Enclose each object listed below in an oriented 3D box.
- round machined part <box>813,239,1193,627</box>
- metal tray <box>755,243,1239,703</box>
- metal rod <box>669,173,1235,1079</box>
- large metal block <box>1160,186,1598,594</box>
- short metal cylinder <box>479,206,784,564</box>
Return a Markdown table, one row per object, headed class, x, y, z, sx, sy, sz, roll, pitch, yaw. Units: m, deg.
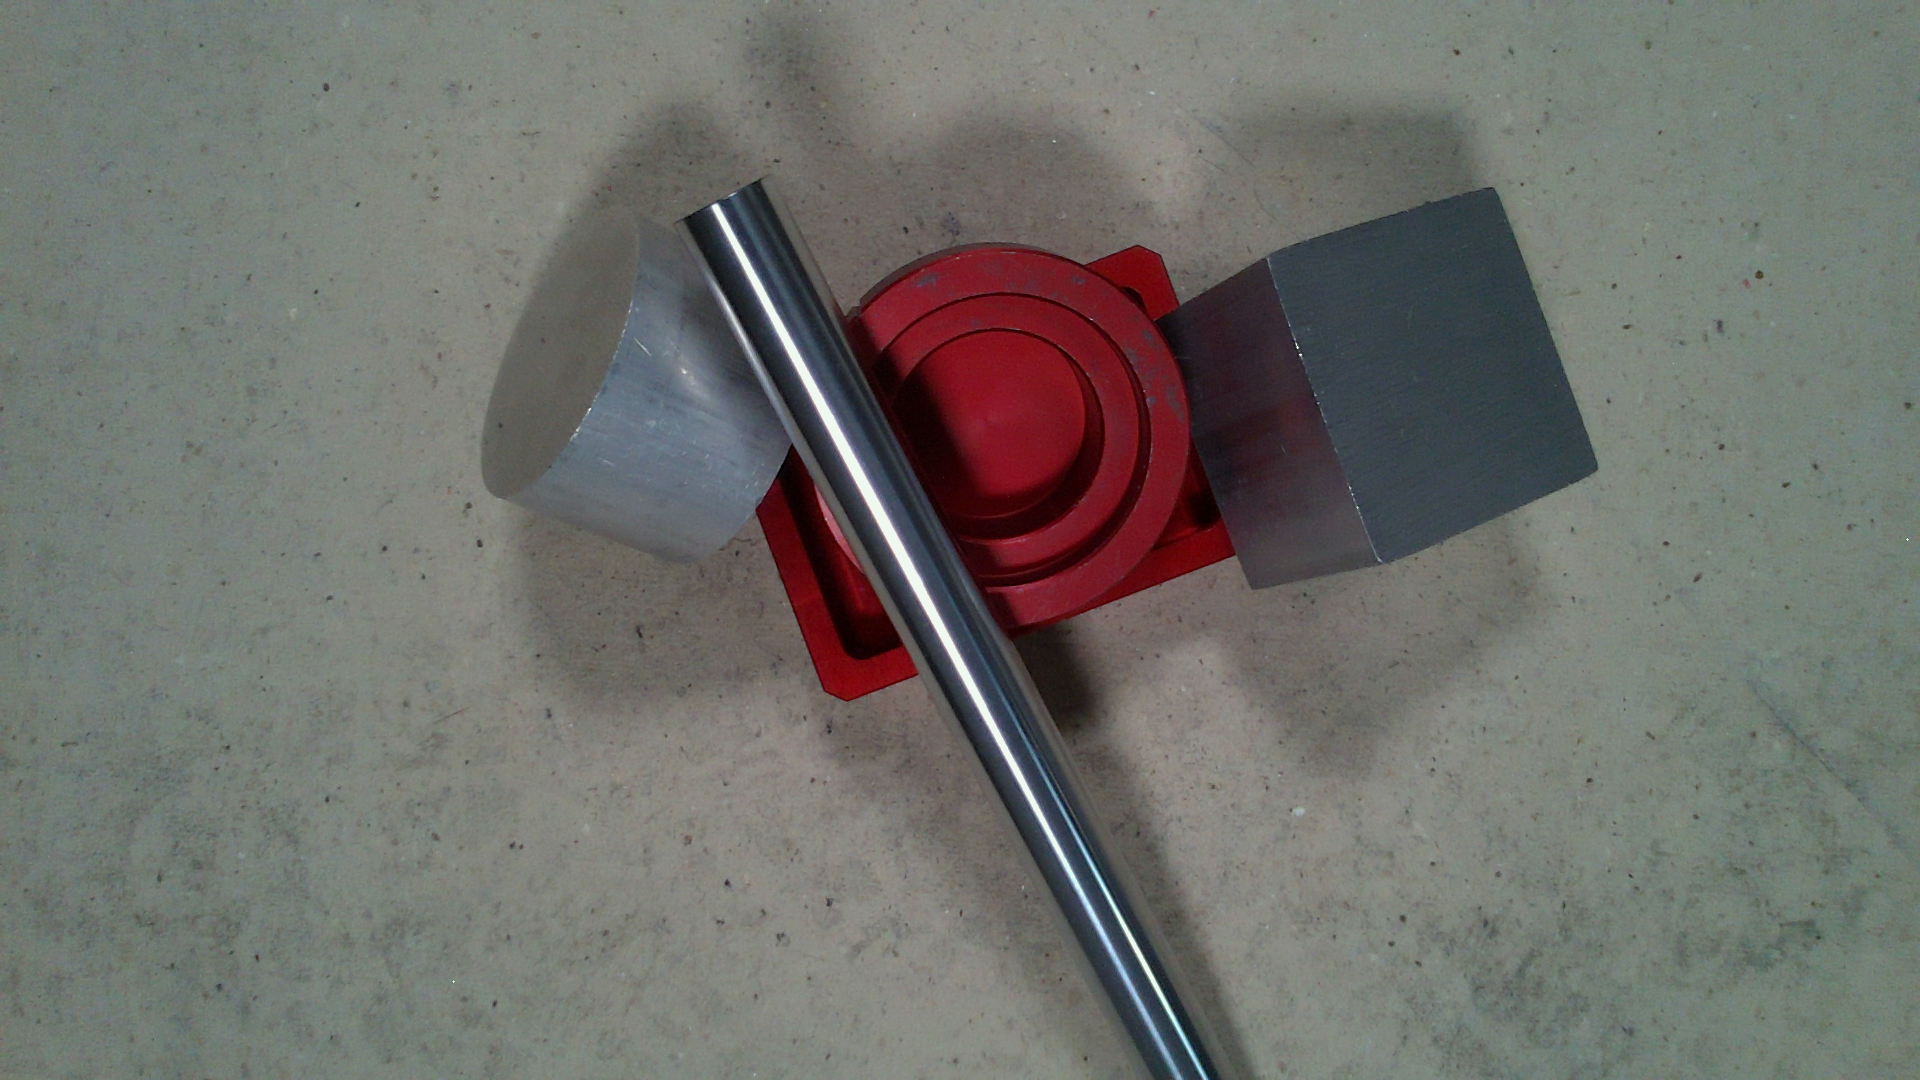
| class | x | y | z | sx | sy | sz | roll | pitch | yaw |
| --- | --- | --- | --- | --- | --- | --- | --- | --- | --- |
| round machined part | 0.009 | -0.030 | 0.363 | 0.098 | 0.042 | 0.098 | -1 | 105 | -4 |
| metal tray | 0.009 | -0.019 | 0.393 | 0.130 | 0.030 | 0.090 | -21 | 90 | 0 |
| metal rod | 0.012 | 0.051 | 0.352 | 0.025 | 0.025 | 0.300 | -27 | 107 | 0 |
| large metal block | 0.110 | -0.039 | 0.366 | 0.080 | 0.050 | 0.080 | -20 | 90 | -26 |
| short metal cylinder | -0.084 | -0.039 | 0.361 | 0.050 | 0.080 | 0.080 | 24 | 90 | -36 |
